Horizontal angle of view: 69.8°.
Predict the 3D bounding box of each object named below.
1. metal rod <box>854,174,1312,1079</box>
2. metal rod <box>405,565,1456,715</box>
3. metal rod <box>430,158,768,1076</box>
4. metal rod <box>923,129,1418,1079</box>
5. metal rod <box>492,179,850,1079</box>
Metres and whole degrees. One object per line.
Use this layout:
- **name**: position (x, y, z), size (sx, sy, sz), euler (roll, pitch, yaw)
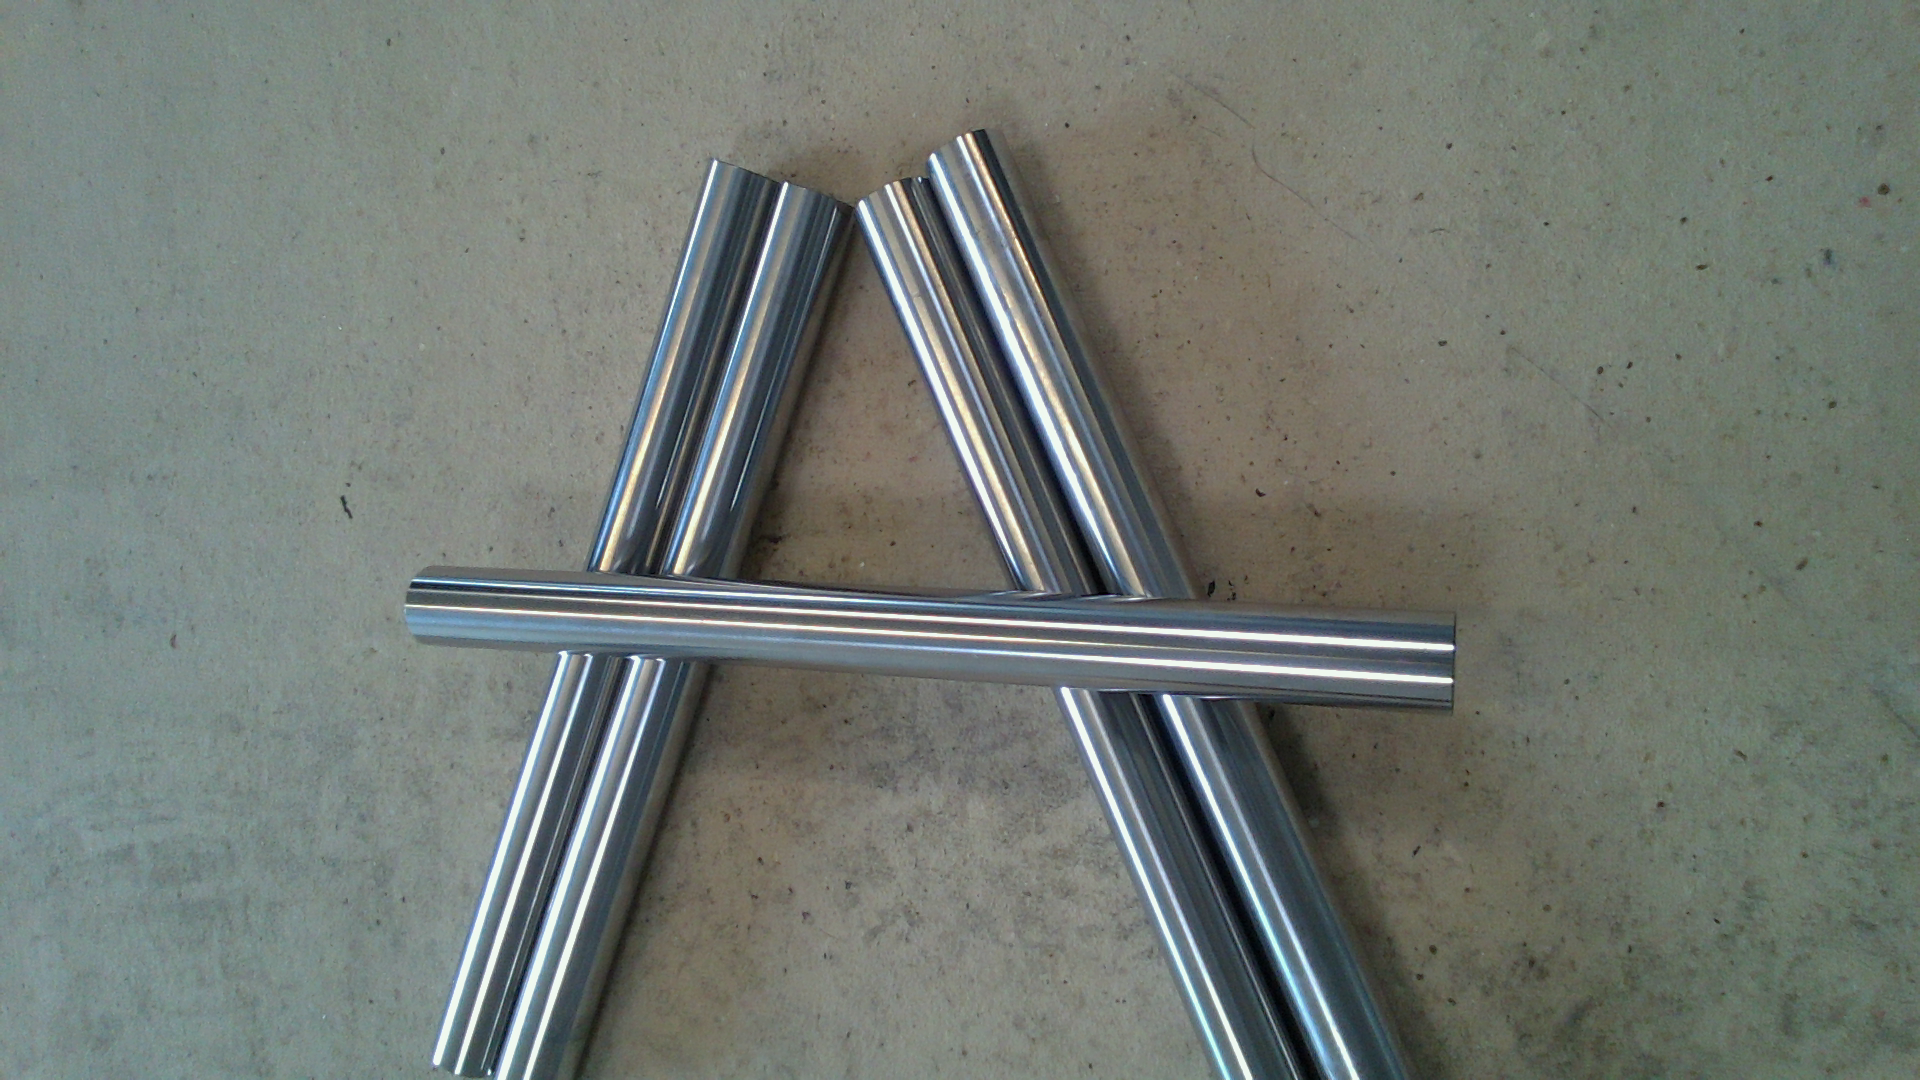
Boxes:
- **metal rod**: position (0.037, 0.037, 0.383), size (0.025, 0.025, 0.300), euler (-25, 82, 18)
- **metal rod**: position (-0.023, 0.025, 0.378), size (0.299, 0.025, 0.025), euler (2, 91, 20)
- **metal rod**: position (-0.113, 0.029, 0.437), size (0.025, 0.025, 0.300), euler (21, 97, 19)
- **metal rod**: position (0.058, 0.026, 0.376), size (0.025, 0.025, 0.300), euler (-25, 82, 18)
- **metal rod**: position (-0.091, 0.038, 0.429), size (0.025, 0.025, 0.300), euler (21, 97, 19)
